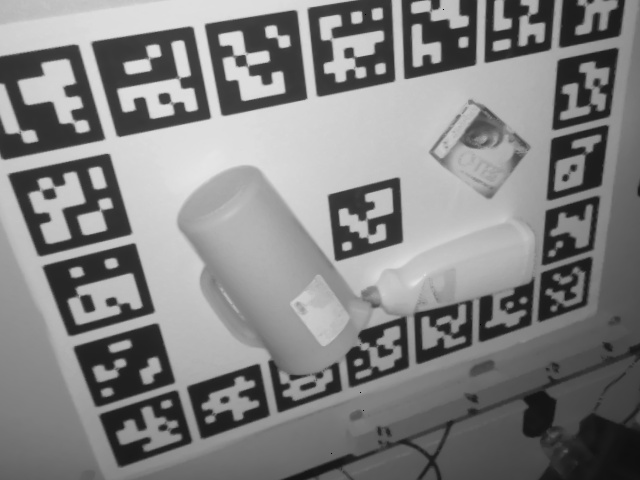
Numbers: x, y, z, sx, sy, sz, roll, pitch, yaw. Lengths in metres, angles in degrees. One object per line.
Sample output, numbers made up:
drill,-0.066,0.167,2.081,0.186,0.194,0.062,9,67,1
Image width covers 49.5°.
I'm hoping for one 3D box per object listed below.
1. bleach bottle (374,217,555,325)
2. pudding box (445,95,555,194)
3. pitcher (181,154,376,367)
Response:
bleach bottle,0.193,0.051,0.945,0.253,0.068,0.102,-16,115,-11
pudding box,0.229,-0.118,0.885,0.115,0.038,0.089,32,106,-28
pitcher,-0.060,0.026,0.818,0.186,0.135,0.243,-18,121,29
